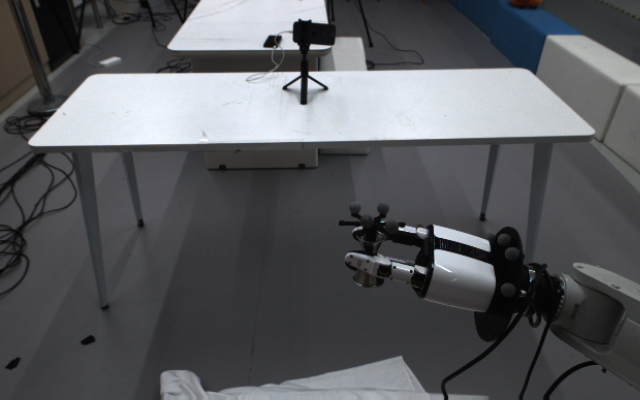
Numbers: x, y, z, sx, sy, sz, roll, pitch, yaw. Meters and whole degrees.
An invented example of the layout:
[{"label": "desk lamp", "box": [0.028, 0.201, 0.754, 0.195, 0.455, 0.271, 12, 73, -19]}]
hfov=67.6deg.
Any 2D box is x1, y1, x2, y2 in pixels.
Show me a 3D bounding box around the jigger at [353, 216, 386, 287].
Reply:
[{"label": "jigger", "box": [0.068, 0.078, 0.670, 0.043, 0.071, 0.043, 1, 20, 0]}]
